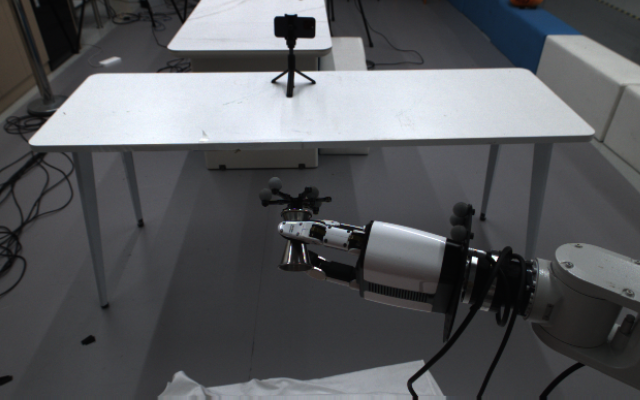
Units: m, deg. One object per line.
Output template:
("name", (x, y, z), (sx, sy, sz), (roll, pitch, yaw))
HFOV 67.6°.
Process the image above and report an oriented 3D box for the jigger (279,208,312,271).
("jigger", (-0.029, 0.047, 0.588), (0.043, 0.043, 0.071), (1, 70, -2))
